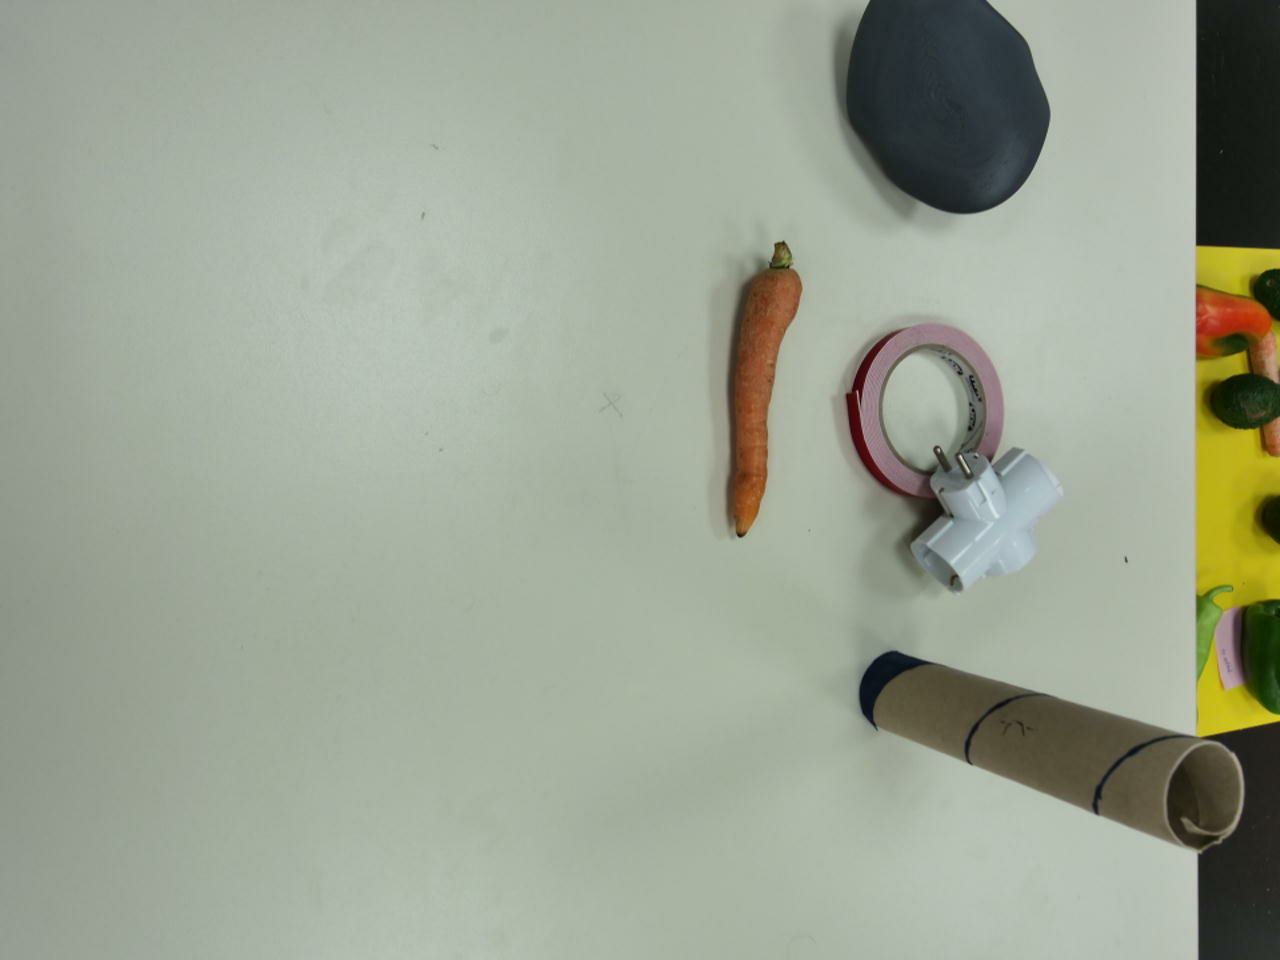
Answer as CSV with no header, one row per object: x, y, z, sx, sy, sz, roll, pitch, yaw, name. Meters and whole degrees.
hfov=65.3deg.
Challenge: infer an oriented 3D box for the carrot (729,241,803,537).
0.070,-0.053,0.584,0.030,0.032,0.173,9,87,-22,carrot
